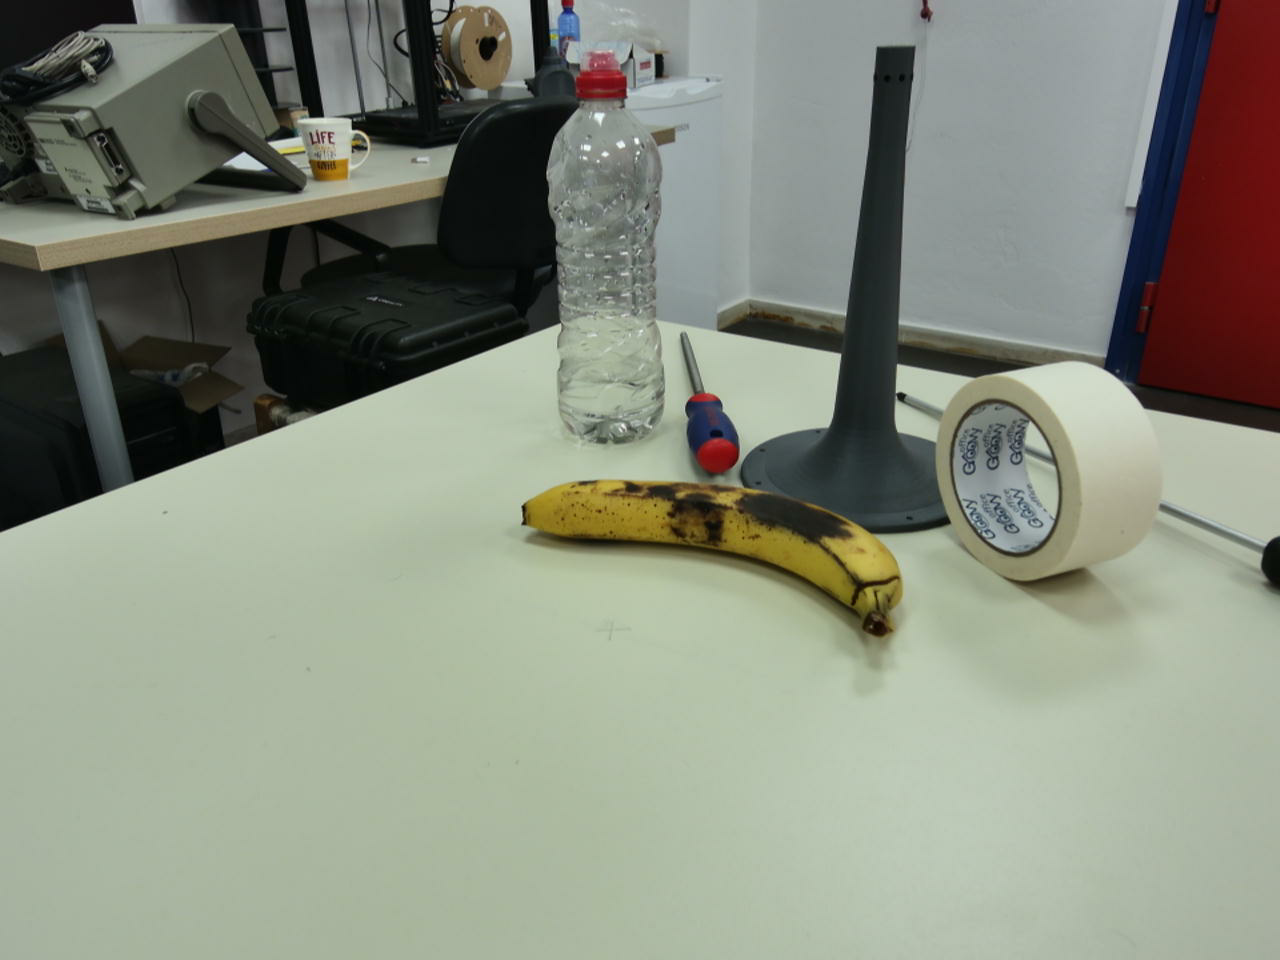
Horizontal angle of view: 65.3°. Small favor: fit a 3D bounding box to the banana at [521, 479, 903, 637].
[{"bbox_3d":[0.043,0.029,0.528,0.222,0.037,0.084,17,29,34],"label":"banana"}]
